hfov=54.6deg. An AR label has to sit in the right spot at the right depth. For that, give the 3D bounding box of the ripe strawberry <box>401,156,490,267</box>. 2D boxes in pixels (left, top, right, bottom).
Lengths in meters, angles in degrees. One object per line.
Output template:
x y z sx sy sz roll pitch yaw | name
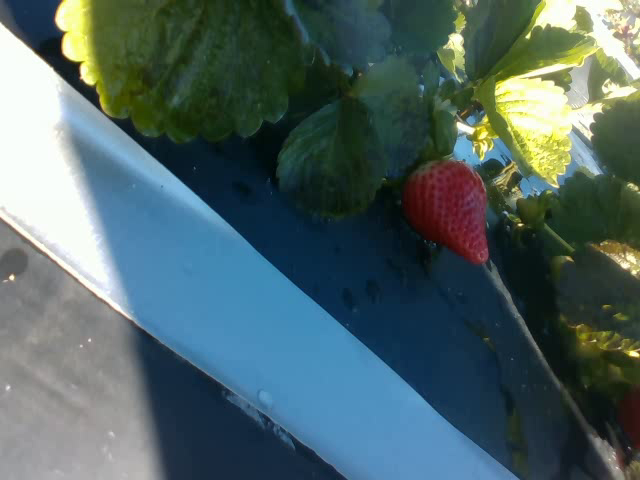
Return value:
0.060 -0.011 0.268 0.046 0.058 0.042 -13 -19 -11 | ripe strawberry
